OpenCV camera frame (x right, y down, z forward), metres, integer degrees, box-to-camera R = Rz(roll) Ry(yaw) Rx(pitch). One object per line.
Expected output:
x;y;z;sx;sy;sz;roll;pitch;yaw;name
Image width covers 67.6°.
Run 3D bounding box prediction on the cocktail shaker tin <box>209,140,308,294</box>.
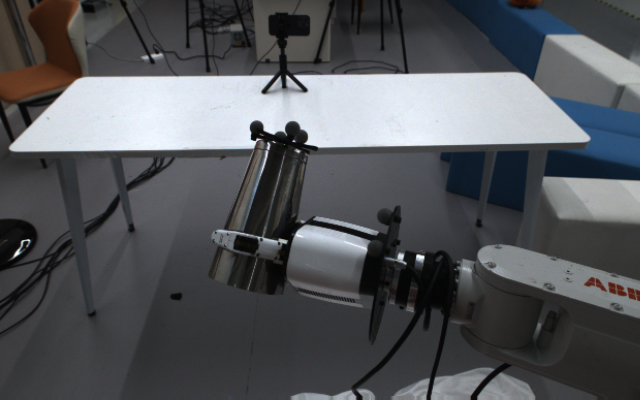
-0.067;0.020;0.584;0.093;0.170;0.093;15;-4;1;cocktail shaker tin
